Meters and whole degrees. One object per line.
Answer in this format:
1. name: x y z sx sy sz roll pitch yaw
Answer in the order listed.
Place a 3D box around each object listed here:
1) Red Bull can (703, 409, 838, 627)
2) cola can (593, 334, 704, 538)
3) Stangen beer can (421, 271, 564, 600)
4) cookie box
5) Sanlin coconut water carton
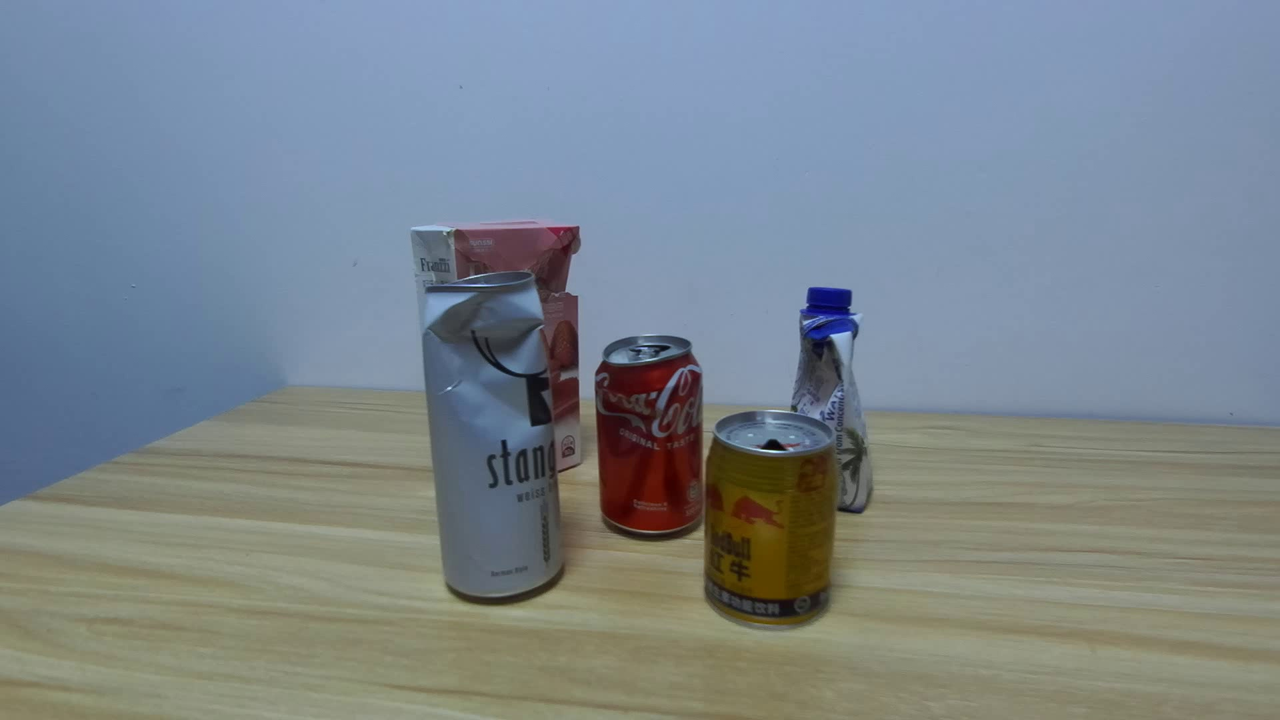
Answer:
1. Red Bull can: 0.066 0.078 0.358 0.067 0.093 0.067 0 16 0
2. cola can: 0.009 0.046 0.441 0.066 0.117 0.072 -9 17 -29
3. Stangen beer can: -0.077 0.040 0.373 0.066 0.166 0.066 -6 14 -16
4. cookie box: -0.096 -0.003 0.503 0.105 0.186 0.059 -13 20 -40
5. Sanlin coconut water carton: 0.119 0.027 0.463 0.056 0.145 0.068 -2 20 21
